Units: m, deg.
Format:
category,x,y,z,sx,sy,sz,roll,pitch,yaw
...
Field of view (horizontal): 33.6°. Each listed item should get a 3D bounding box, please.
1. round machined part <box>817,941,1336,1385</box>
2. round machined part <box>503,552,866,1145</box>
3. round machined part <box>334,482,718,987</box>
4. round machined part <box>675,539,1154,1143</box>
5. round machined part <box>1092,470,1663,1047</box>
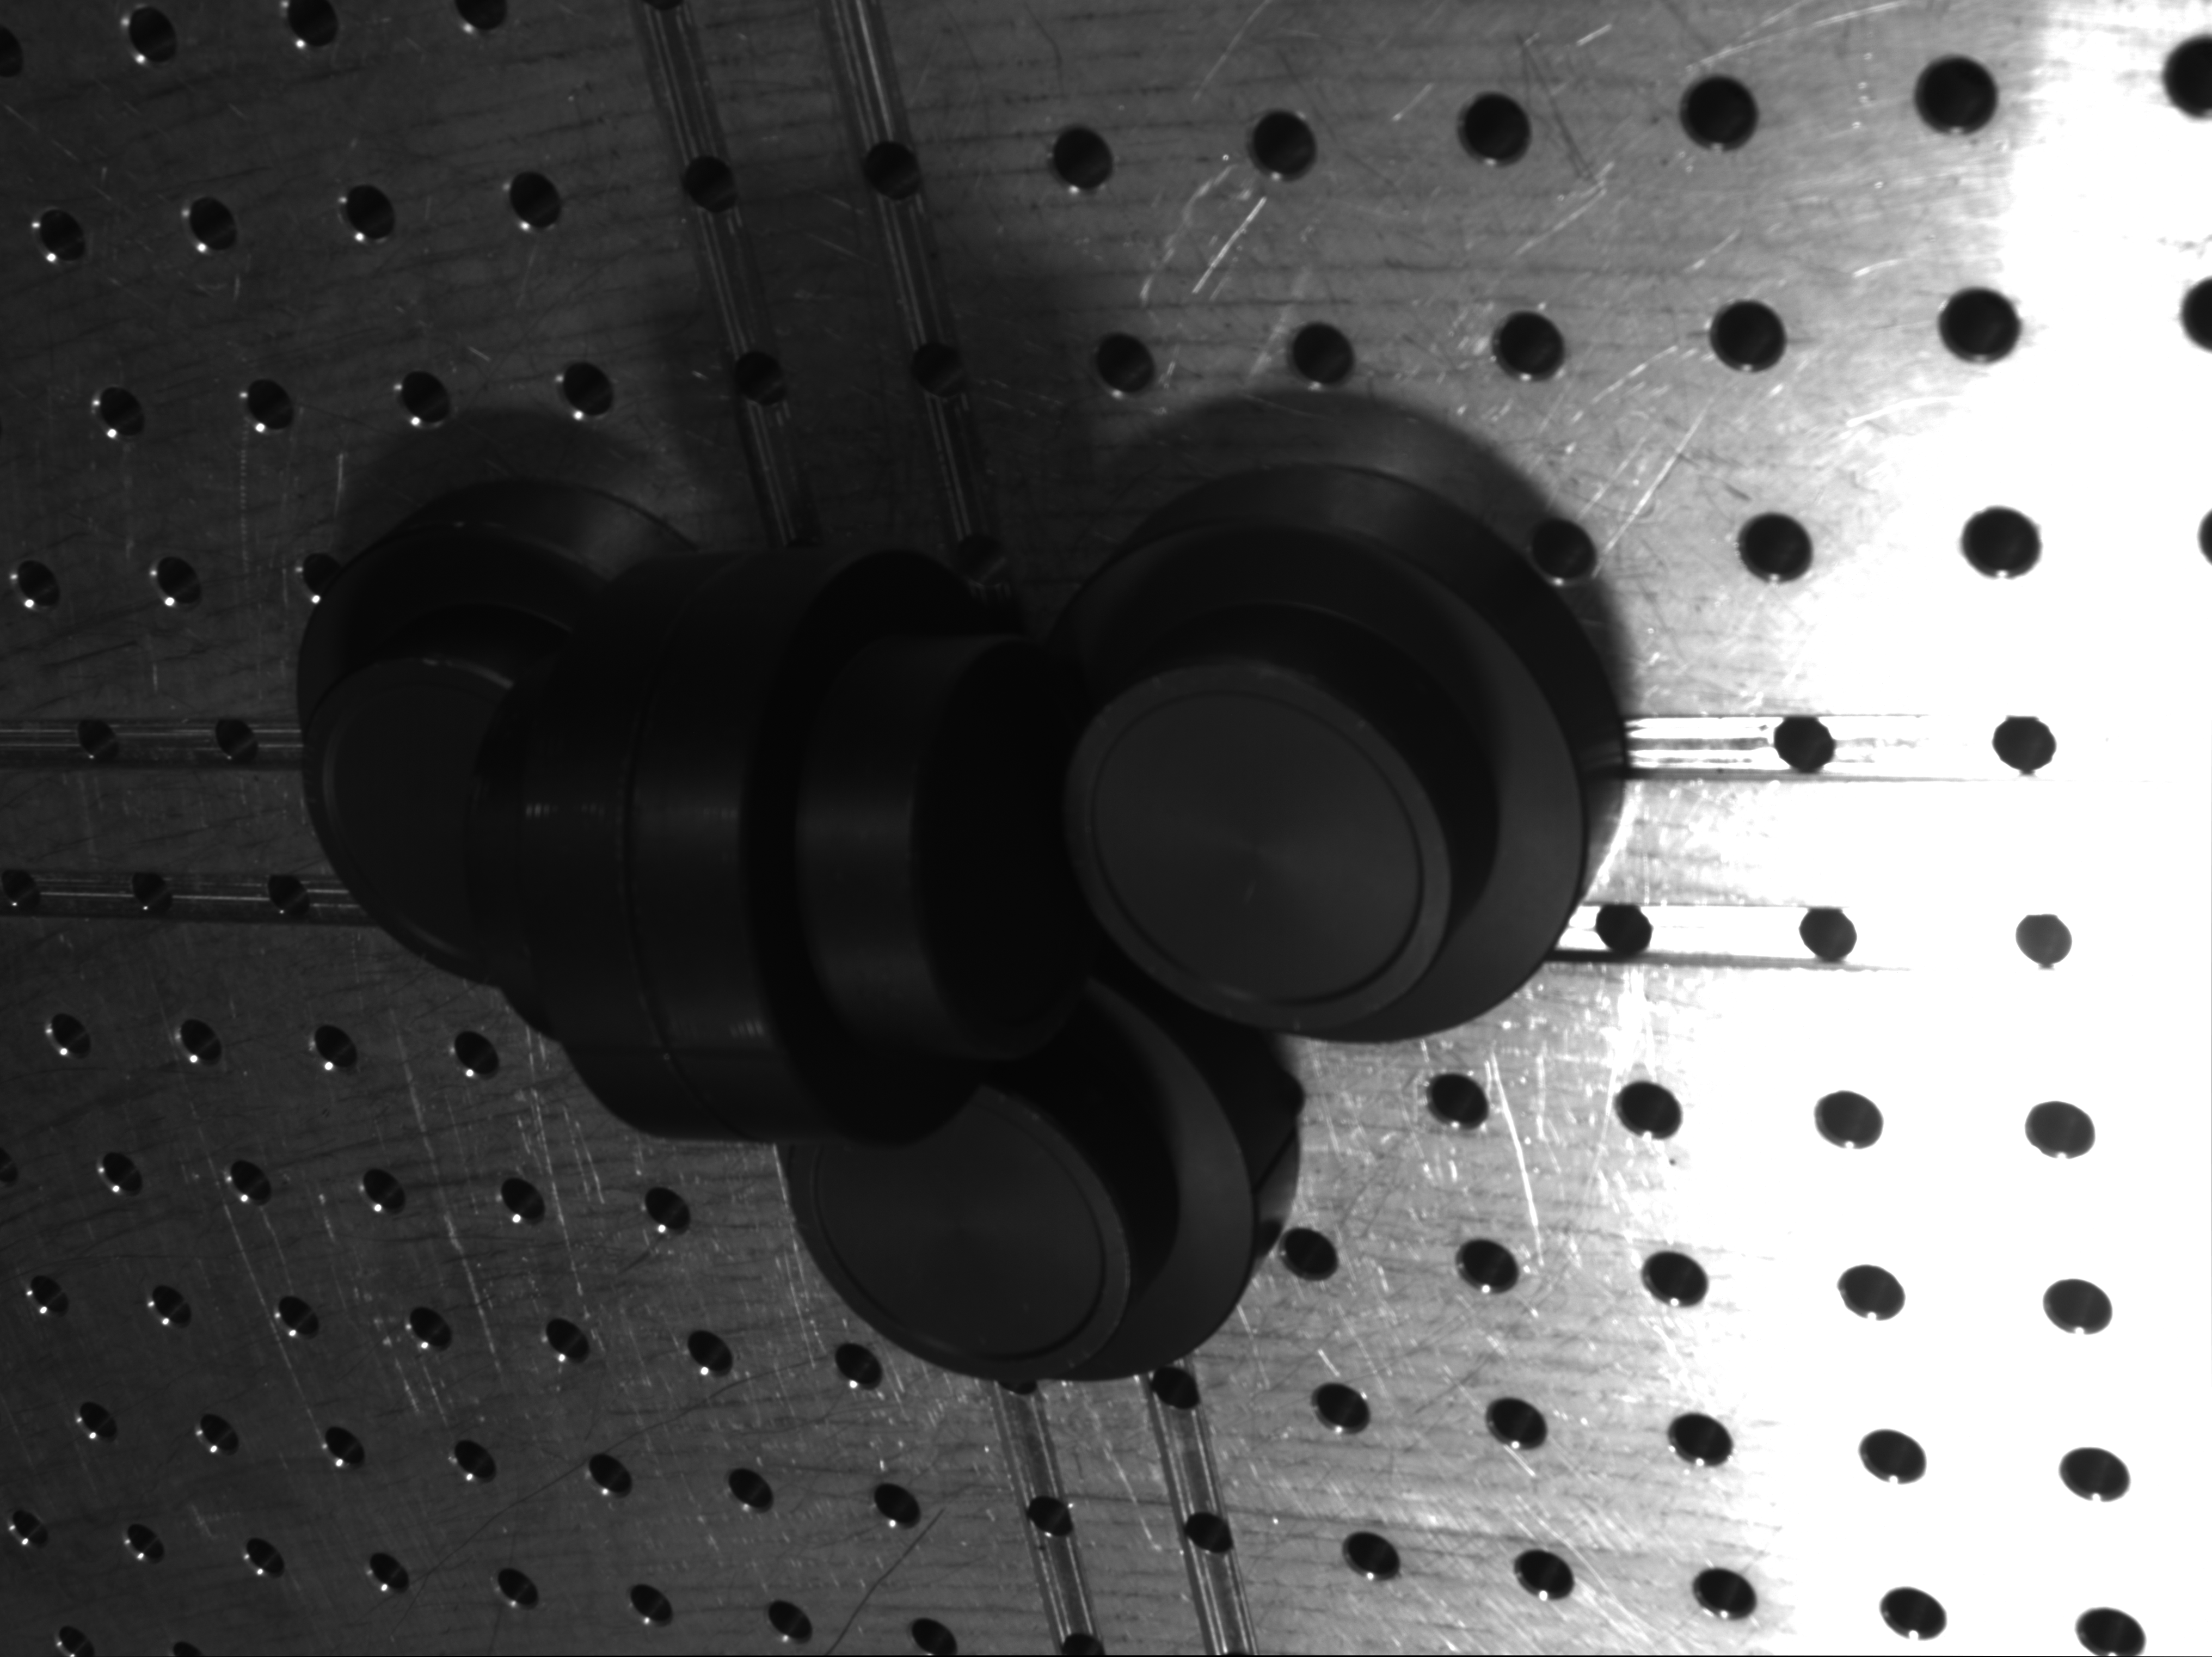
category,x,y,z,sx,sy,sz,roll,pitch,yaw
round machined part,-0.011,0.061,0.666,0.098,0.042,0.098,12,123,20
round machined part,-0.064,0.003,0.614,0.042,0.098,0.098,1,119,26
round machined part,-0.099,-0.010,0.667,0.098,0.042,0.098,12,123,20
round machined part,-0.025,0.002,0.595,0.042,0.098,0.098,-1,118,27
round machined part,0.038,-0.006,0.600,0.098,0.042,0.098,12,123,20
